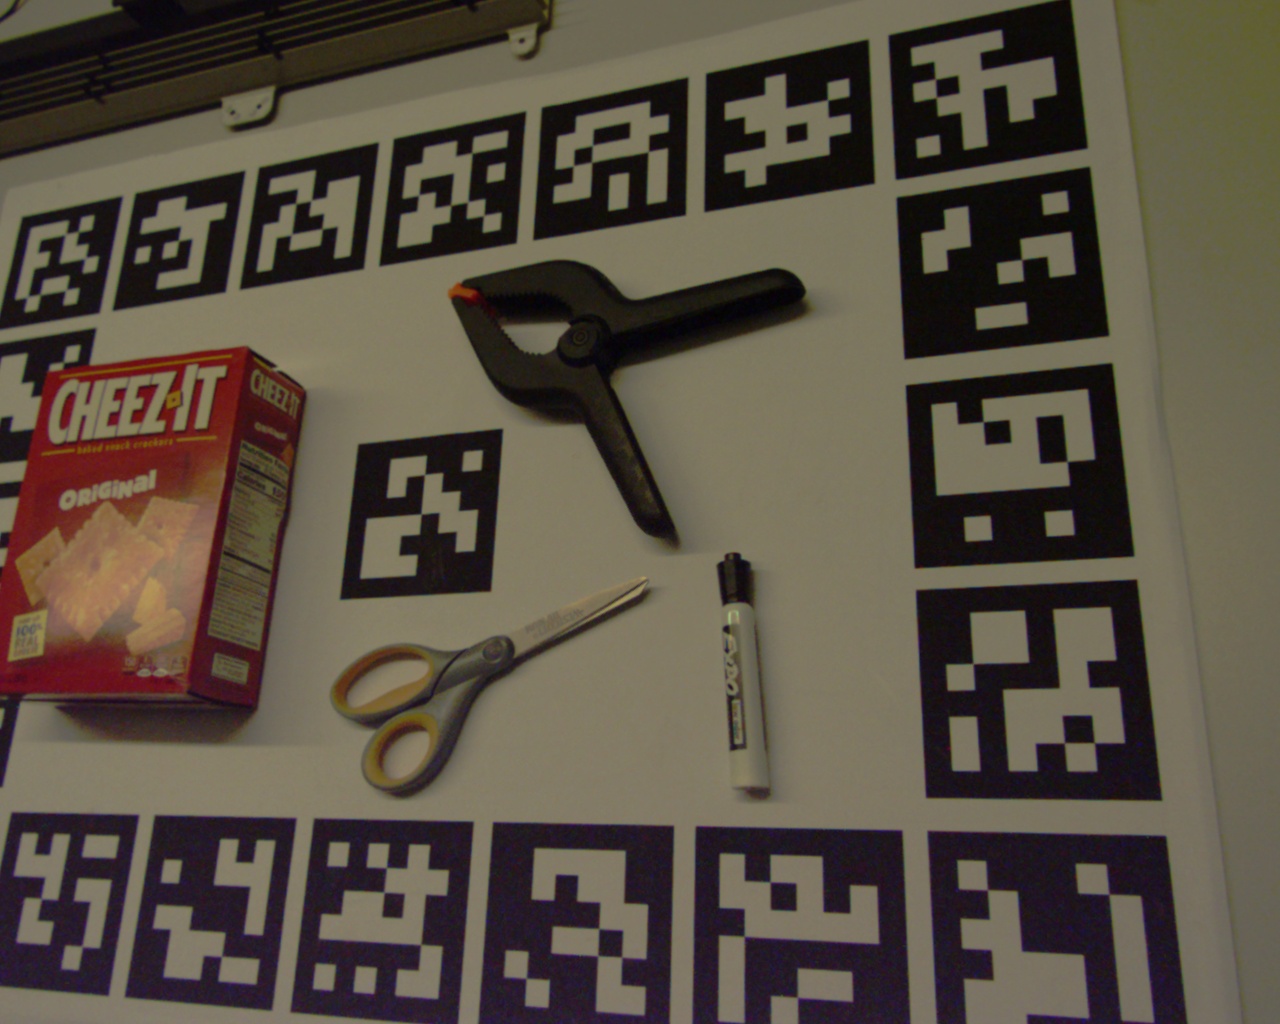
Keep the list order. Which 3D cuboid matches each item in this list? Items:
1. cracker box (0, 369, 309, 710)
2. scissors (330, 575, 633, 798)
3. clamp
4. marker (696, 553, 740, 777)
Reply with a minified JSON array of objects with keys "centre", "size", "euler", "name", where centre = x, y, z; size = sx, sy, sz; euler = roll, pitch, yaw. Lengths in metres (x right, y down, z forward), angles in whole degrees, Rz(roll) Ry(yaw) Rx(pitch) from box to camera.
[{"centre":[-0.319,0.020,0.749],"size":[0.166,0.071,0.214],"euler":[-4,71,20],"name":"cracker box"},{"centre":[-0.093,0.087,0.666],"size":[0.203,0.015,0.088],"euler":[-31,63,6],"name":"scissors"},{"centre":[-0.038,-0.094,0.714],"size":[0.205,0.036,0.165],"euler":[27,82,26],"name":"clamp"},{"centre":[0.042,0.081,0.616],"size":[0.020,0.019,0.121],"euler":[-8,68,18],"name":"marker"}]
